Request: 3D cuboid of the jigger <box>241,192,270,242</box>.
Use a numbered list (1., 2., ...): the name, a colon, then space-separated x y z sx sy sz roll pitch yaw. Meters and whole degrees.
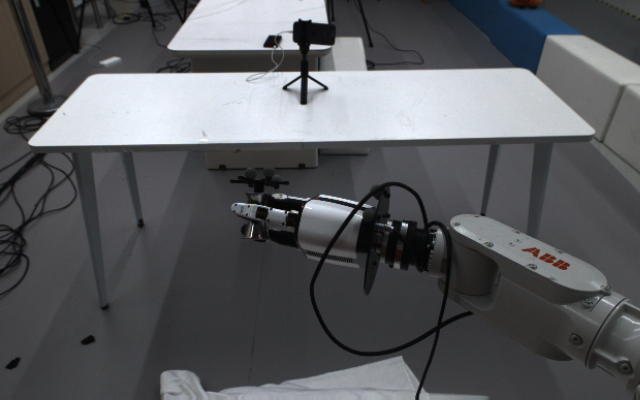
1. jigger: -0.092 0.025 0.718 0.043 0.071 0.043 2 -6 0
